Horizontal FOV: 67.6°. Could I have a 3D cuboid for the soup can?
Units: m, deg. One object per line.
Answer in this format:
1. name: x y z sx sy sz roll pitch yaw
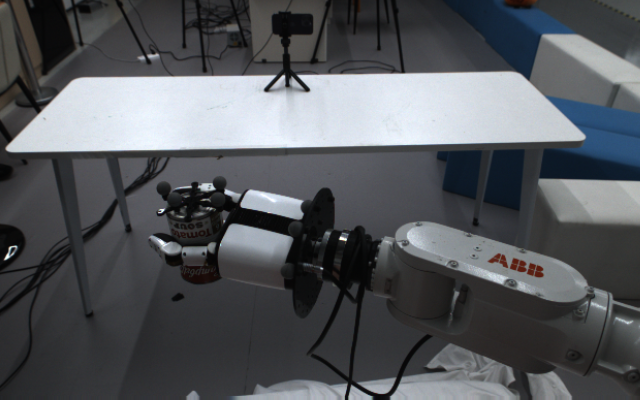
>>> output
1. soup can: -0.153 0.049 0.619 0.067 0.101 0.067 -2 32 1
